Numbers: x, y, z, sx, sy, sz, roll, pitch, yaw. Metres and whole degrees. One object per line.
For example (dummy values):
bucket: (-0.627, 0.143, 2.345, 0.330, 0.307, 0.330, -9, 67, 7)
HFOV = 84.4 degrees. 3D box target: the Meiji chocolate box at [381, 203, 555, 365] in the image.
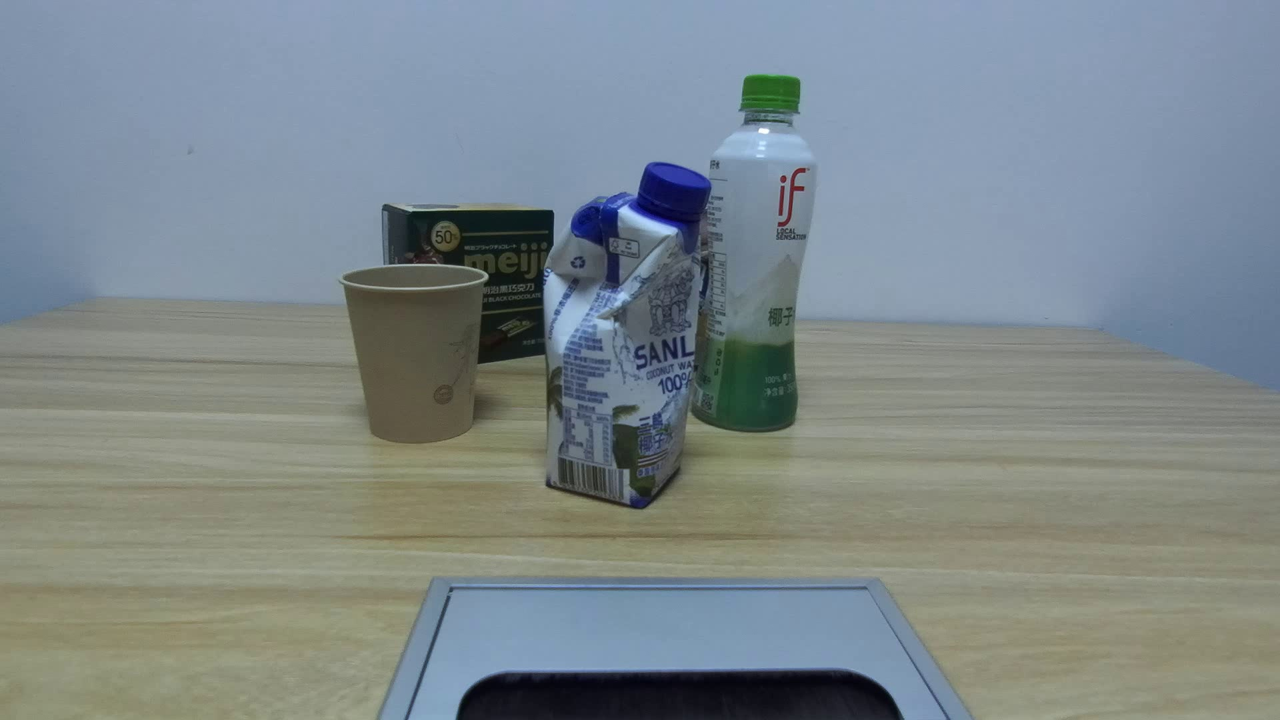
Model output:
Meiji chocolate box: (-0.113, -0.049, 0.496, 0.110, 0.109, 0.056, -6, 12, -26)

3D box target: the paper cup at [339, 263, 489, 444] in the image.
paper cup: (-0.117, -0.004, 0.375, 0.075, 0.082, 0.075, 3, 16, 0)

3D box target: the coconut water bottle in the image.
coconut water bottle: (0.068, -0.058, 0.401, 0.063, 0.188, 0.063, 4, 14, -1)
